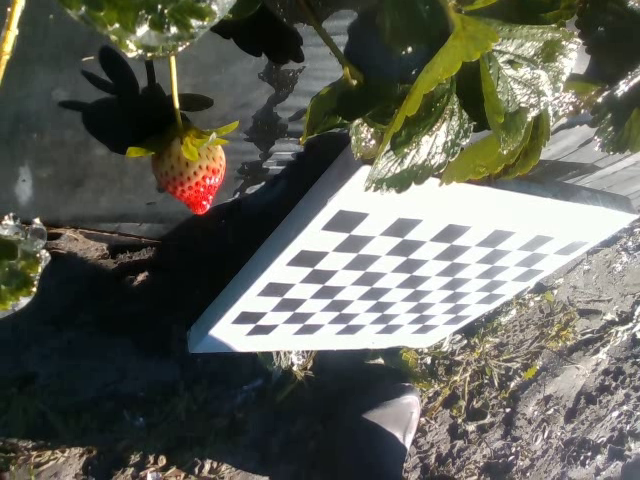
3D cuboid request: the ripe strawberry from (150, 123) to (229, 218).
[{"bbox_3d":[-0.061,-0.032,0.296,0.039,0.053,0.040,-7,44,-15],"label":"ripe strawberry"}]
